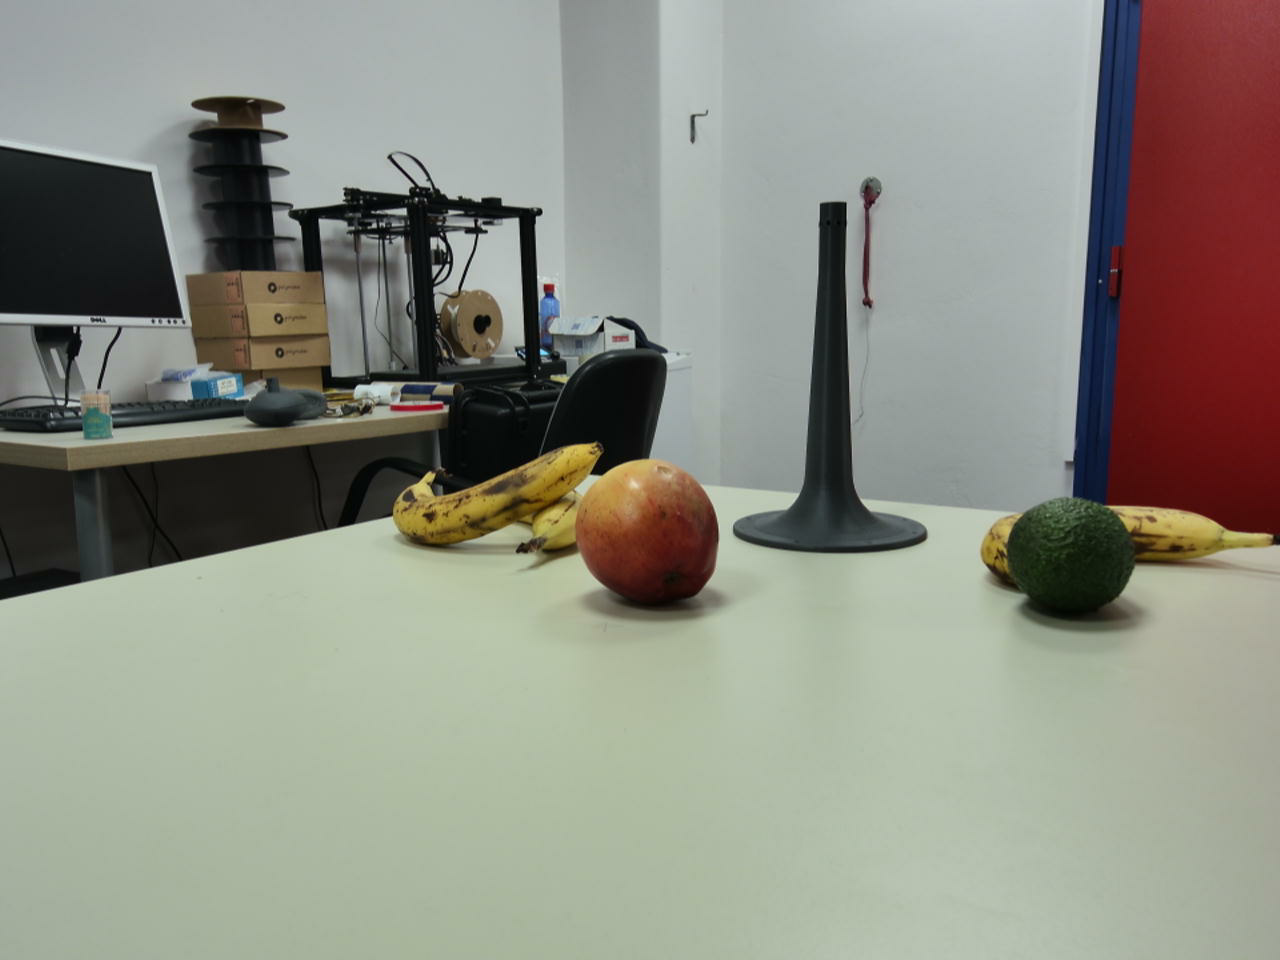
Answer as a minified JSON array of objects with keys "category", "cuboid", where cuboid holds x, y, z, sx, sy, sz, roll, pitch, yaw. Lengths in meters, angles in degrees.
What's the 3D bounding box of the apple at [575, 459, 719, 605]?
[{"category":"apple","cuboid":[0.004,0.030,0.608,0.086,0.084,0.093,1,7,-1]}]
